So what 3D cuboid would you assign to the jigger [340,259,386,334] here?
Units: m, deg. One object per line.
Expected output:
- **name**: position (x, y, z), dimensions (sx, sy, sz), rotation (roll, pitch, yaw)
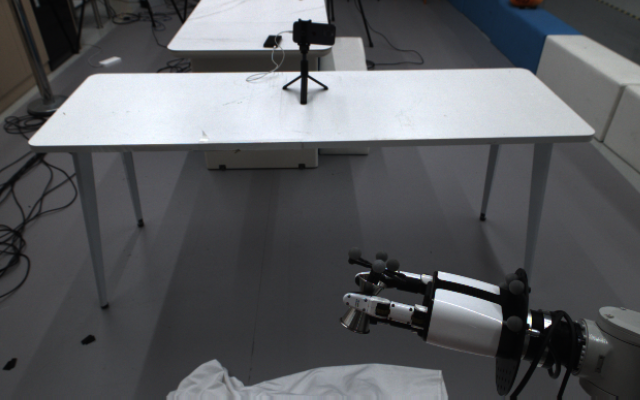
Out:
- **jigger**: position (0.057, 0.137, 0.644), dimensions (0.043, 0.071, 0.043), rotation (22, 5, -2)
